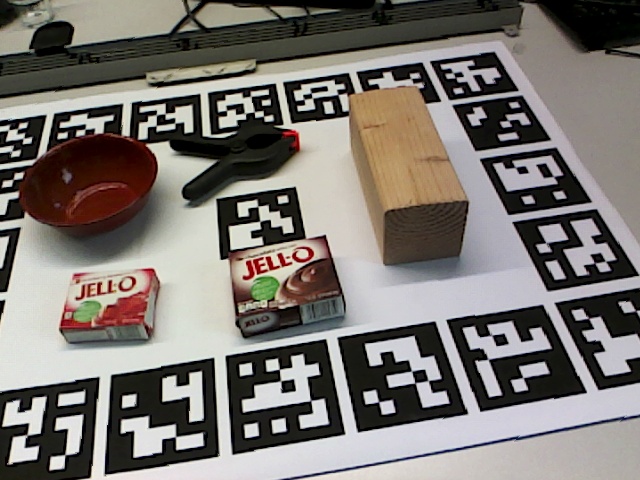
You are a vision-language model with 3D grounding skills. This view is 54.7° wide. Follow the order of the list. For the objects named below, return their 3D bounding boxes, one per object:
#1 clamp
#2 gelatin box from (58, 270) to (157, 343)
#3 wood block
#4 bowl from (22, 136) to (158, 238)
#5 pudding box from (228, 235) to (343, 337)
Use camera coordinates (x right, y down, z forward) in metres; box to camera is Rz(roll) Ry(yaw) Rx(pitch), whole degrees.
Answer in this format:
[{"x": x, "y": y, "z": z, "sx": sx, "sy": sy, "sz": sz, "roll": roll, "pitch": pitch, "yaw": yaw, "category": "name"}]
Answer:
[{"x": -0.124, "y": -0.105, "z": 0.811, "sx": 0.165, "sy": 0.036, "sz": 0.122, "roll": -16, "pitch": 49, "yaw": -12, "category": "clamp"}, {"x": -0.224, "y": 0.070, "z": 0.657, "sx": 0.089, "sy": 0.030, "sz": 0.073, "roll": -3, "pitch": 50, "yaw": 2, "category": "gelatin box"}, {"x": 0.098, "y": -0.080, "z": 0.725, "sx": 0.090, "sy": 0.090, "sz": 0.207, "roll": -7, "pitch": 49, "yaw": -3, "category": "wood block"}, {"x": -0.276, "y": -0.056, "z": 0.766, "sx": 0.162, "sy": 0.055, "sz": 0.162, "roll": -1, "pitch": 51, "yaw": 1, "category": "bowl"}, {"x": -0.038, "y": 0.048, "z": 0.659, "sx": 0.114, "sy": 0.038, "sz": 0.090, "roll": -11, "pitch": 53, "yaw": -2, "category": "pudding box"}]
